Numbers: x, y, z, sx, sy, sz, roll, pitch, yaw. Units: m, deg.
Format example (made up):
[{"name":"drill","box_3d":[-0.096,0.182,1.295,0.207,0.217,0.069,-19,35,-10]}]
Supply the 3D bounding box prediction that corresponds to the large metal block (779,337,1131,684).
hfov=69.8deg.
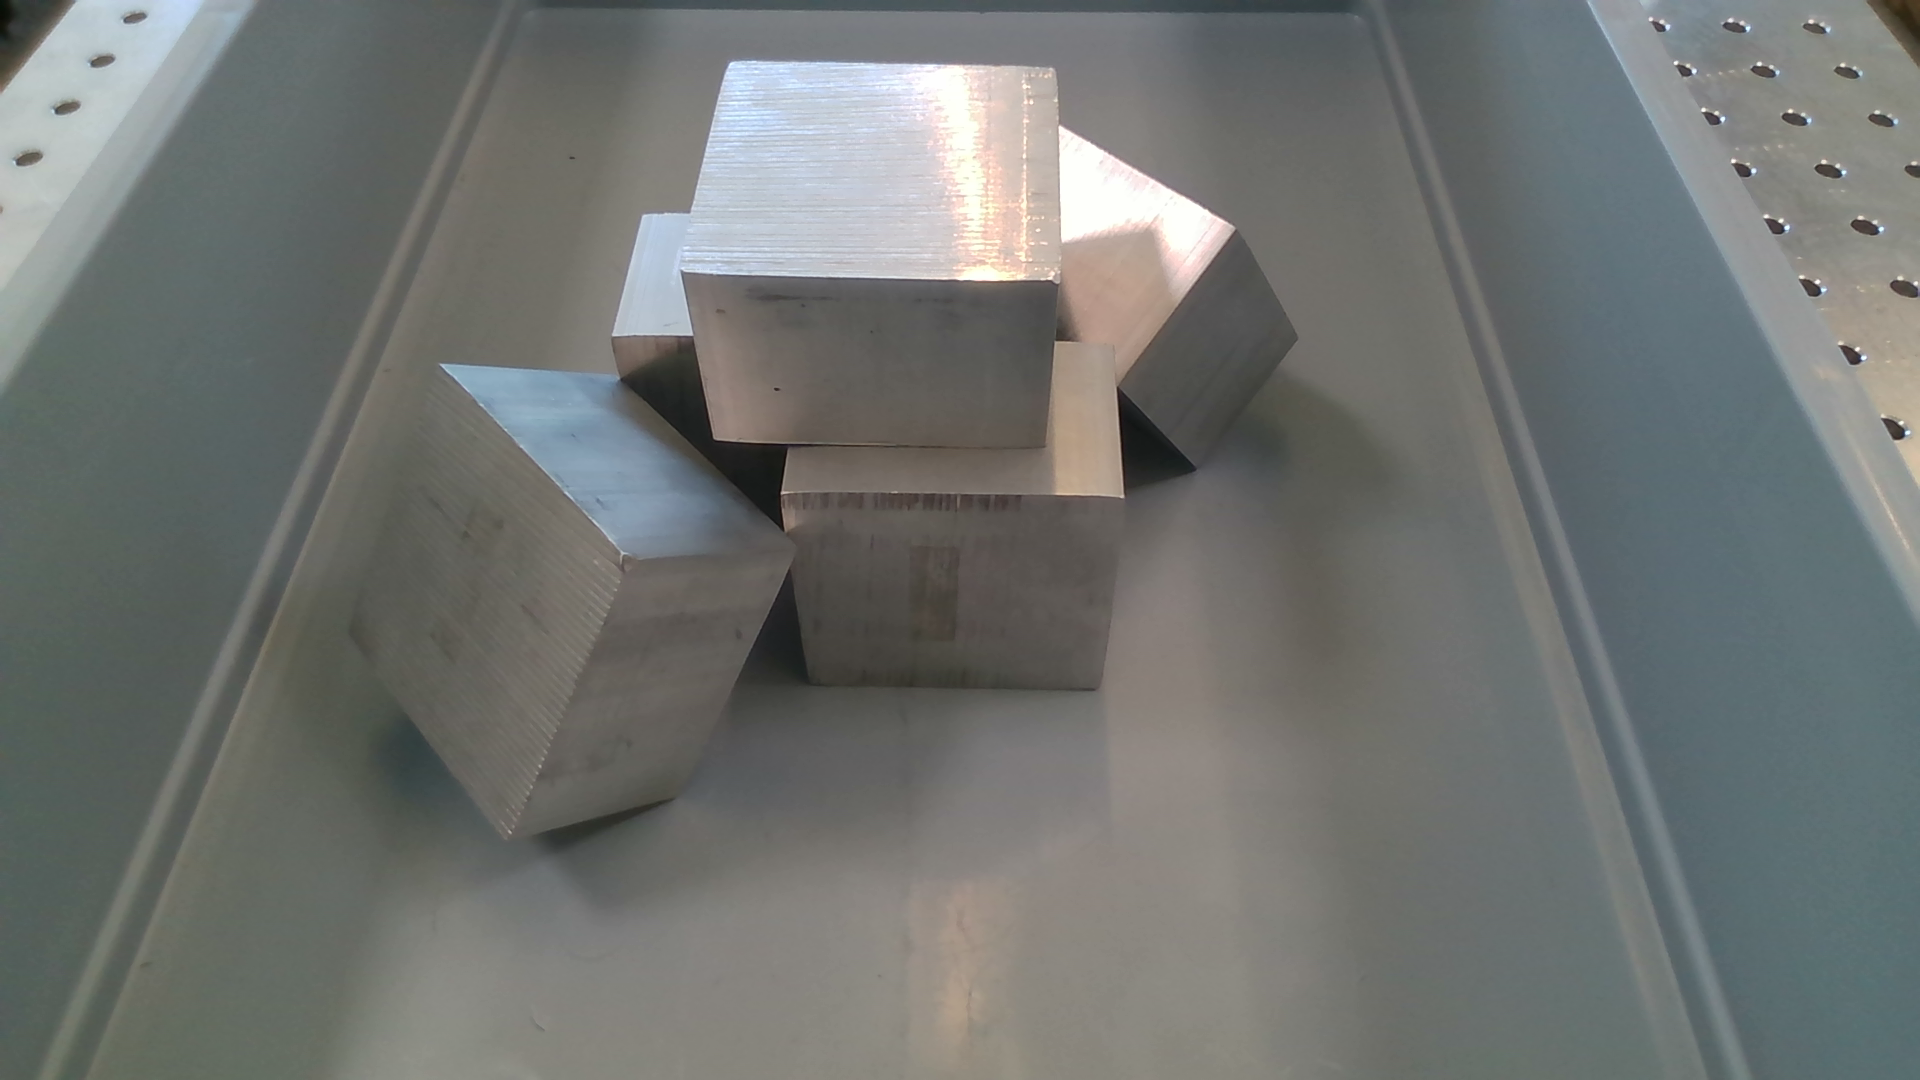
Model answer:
[{"name":"large metal block","box_3d":[-0.001,-0.006,0.360,0.080,0.080,0.050,1,50,0]}]

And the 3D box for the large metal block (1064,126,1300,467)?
[{"name":"large metal block","box_3d":[0.045,-0.073,0.408,0.080,0.080,0.050,40,95,28]}]

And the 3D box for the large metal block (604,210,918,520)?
[{"name":"large metal block","box_3d":[-0.050,-0.046,0.395,0.080,0.080,0.050,1,50,0]}]

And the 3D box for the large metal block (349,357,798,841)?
[{"name":"large metal block","box_3d":[-0.097,0.012,0.337,0.080,0.080,0.050,41,26,29]}]

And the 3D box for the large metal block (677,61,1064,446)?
[{"name":"large metal block","box_3d":[-0.017,-0.070,0.329,0.080,0.050,0.080,1,50,1]}]
